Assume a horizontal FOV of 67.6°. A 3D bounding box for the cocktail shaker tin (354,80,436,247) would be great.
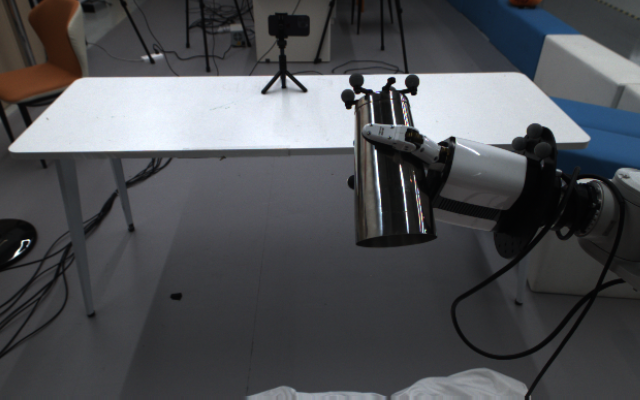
[{"bbox_3d":[0.081,-0.035,0.567,0.093,0.093,0.170,-3,76,-8],"label":"cocktail shaker tin"}]
